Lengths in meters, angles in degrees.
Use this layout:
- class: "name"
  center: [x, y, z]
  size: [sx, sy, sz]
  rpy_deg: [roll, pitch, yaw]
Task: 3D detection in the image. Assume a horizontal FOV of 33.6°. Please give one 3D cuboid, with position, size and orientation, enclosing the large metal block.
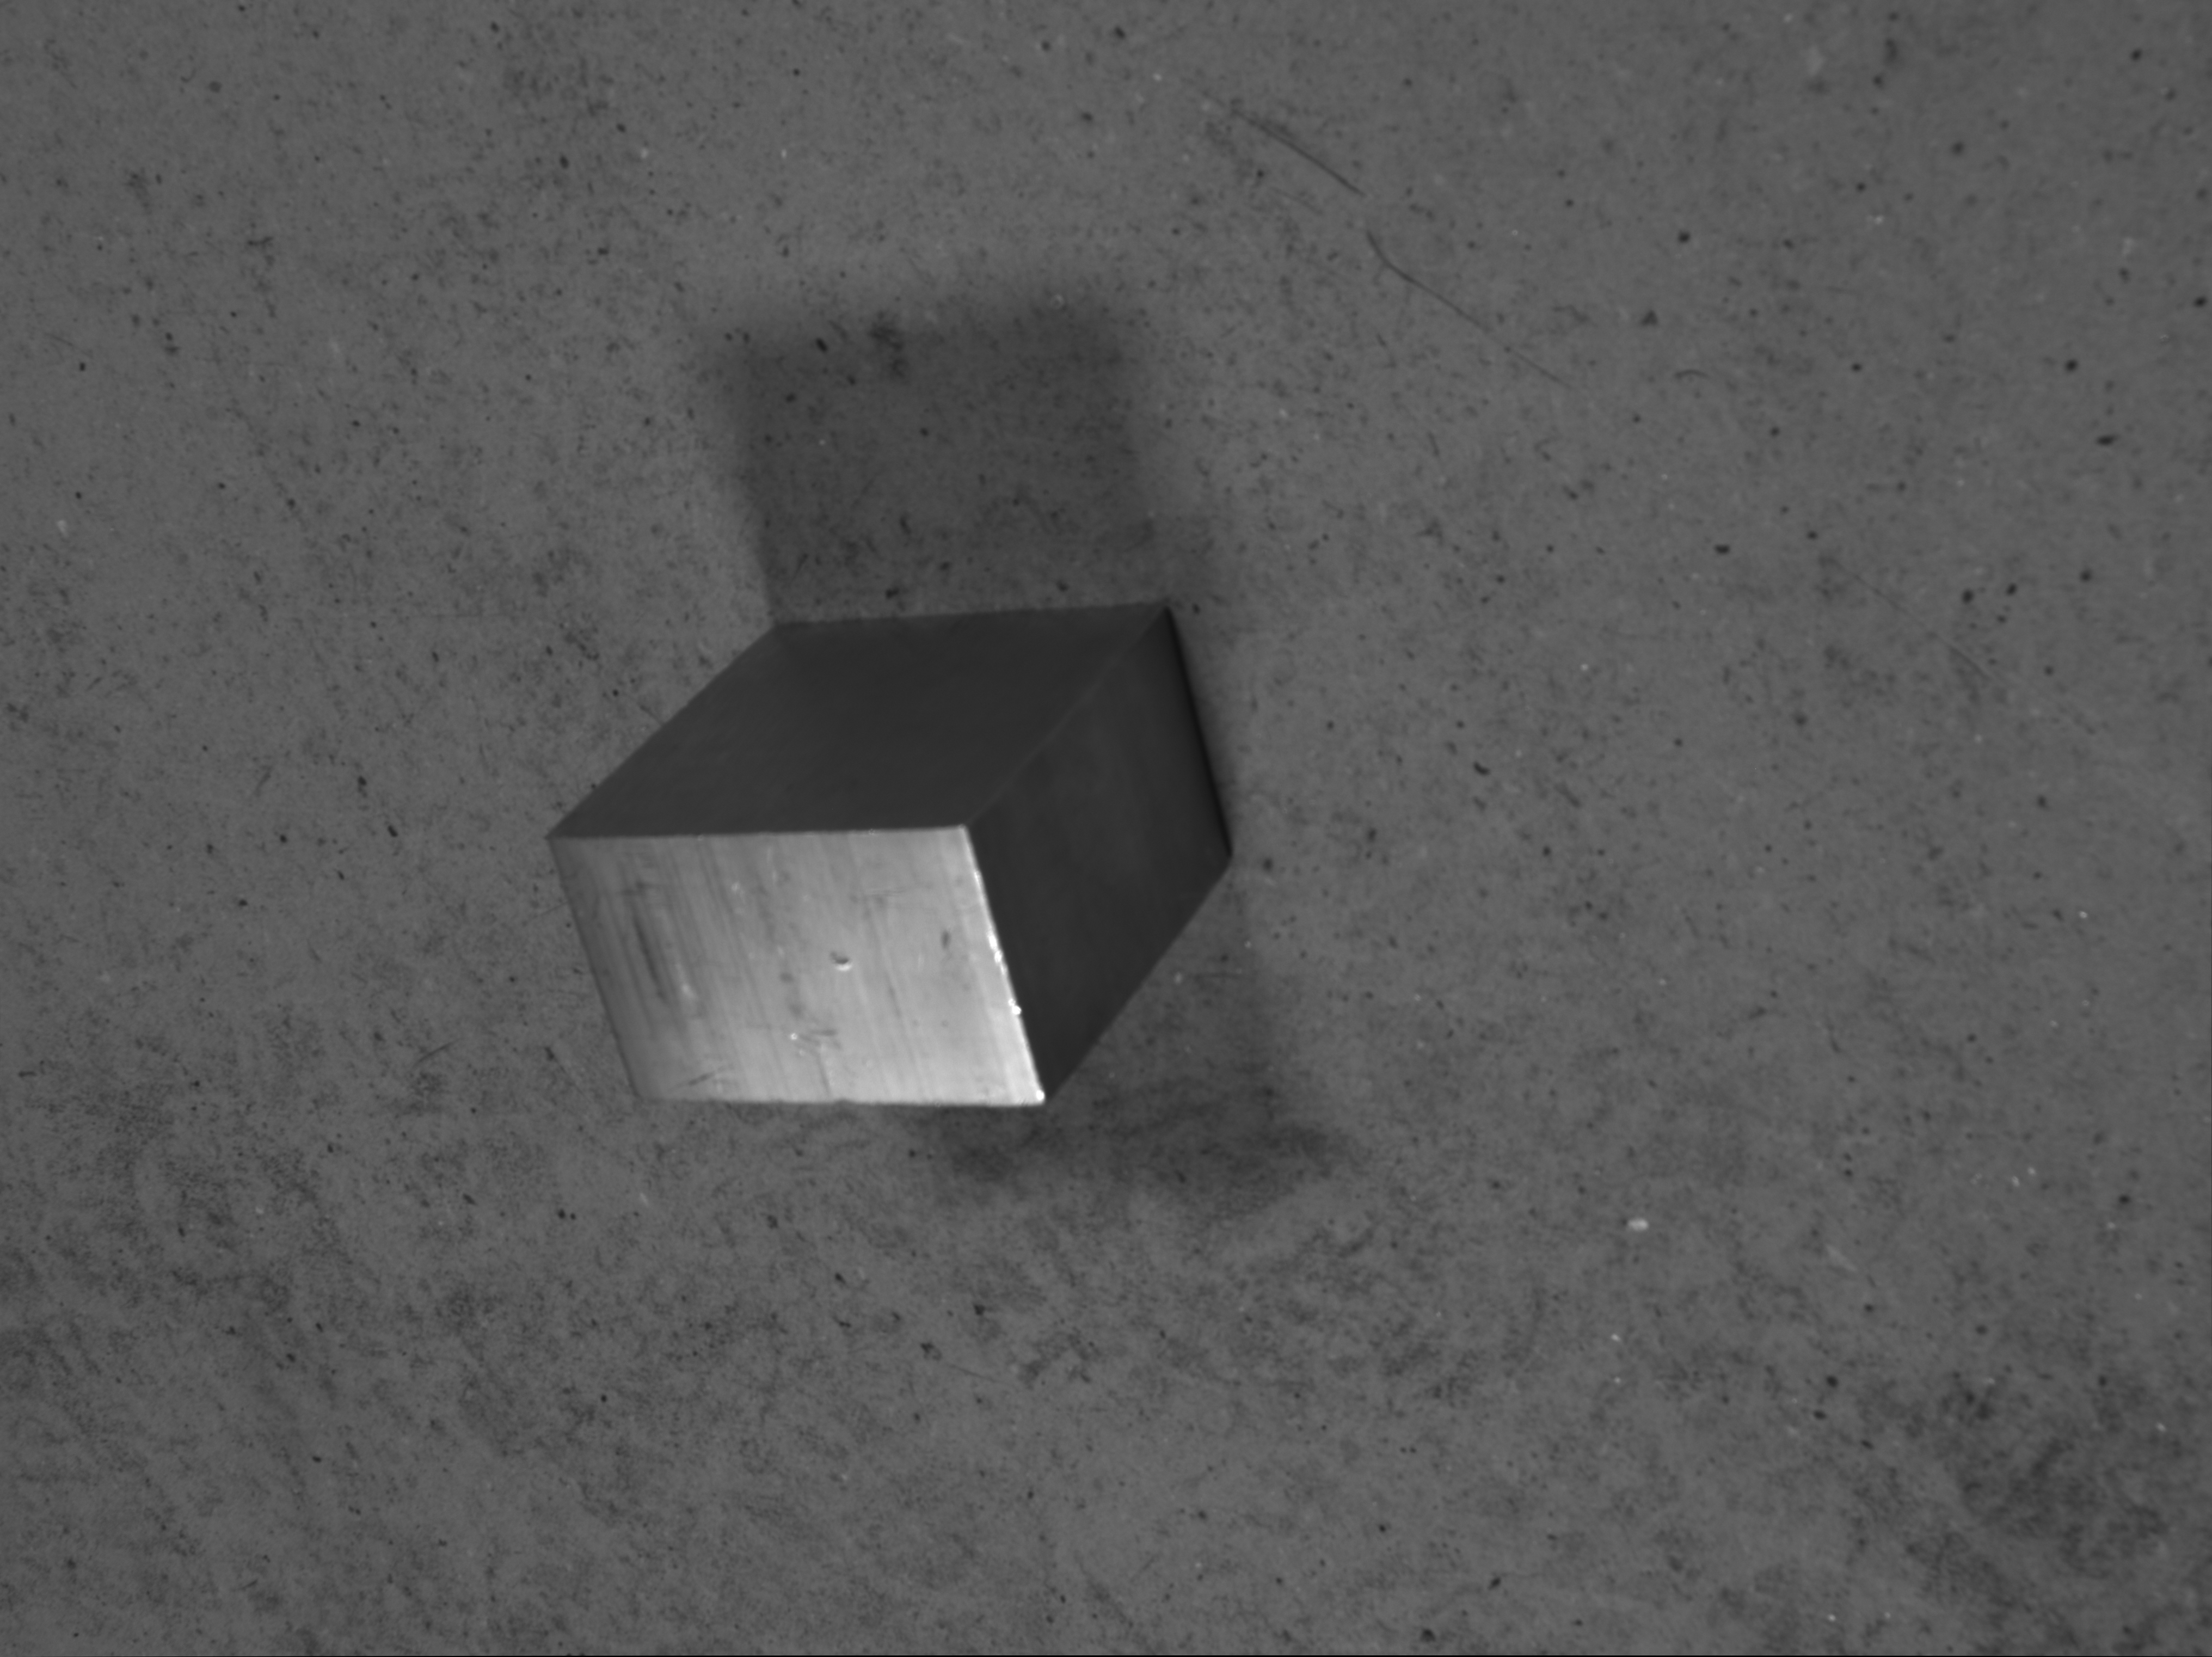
- class: "large metal block"
  center: [-0.035, 0.004, 0.617]
  size: [0.080, 0.080, 0.050]
  rpy_deg: [-1, 118, 27]
